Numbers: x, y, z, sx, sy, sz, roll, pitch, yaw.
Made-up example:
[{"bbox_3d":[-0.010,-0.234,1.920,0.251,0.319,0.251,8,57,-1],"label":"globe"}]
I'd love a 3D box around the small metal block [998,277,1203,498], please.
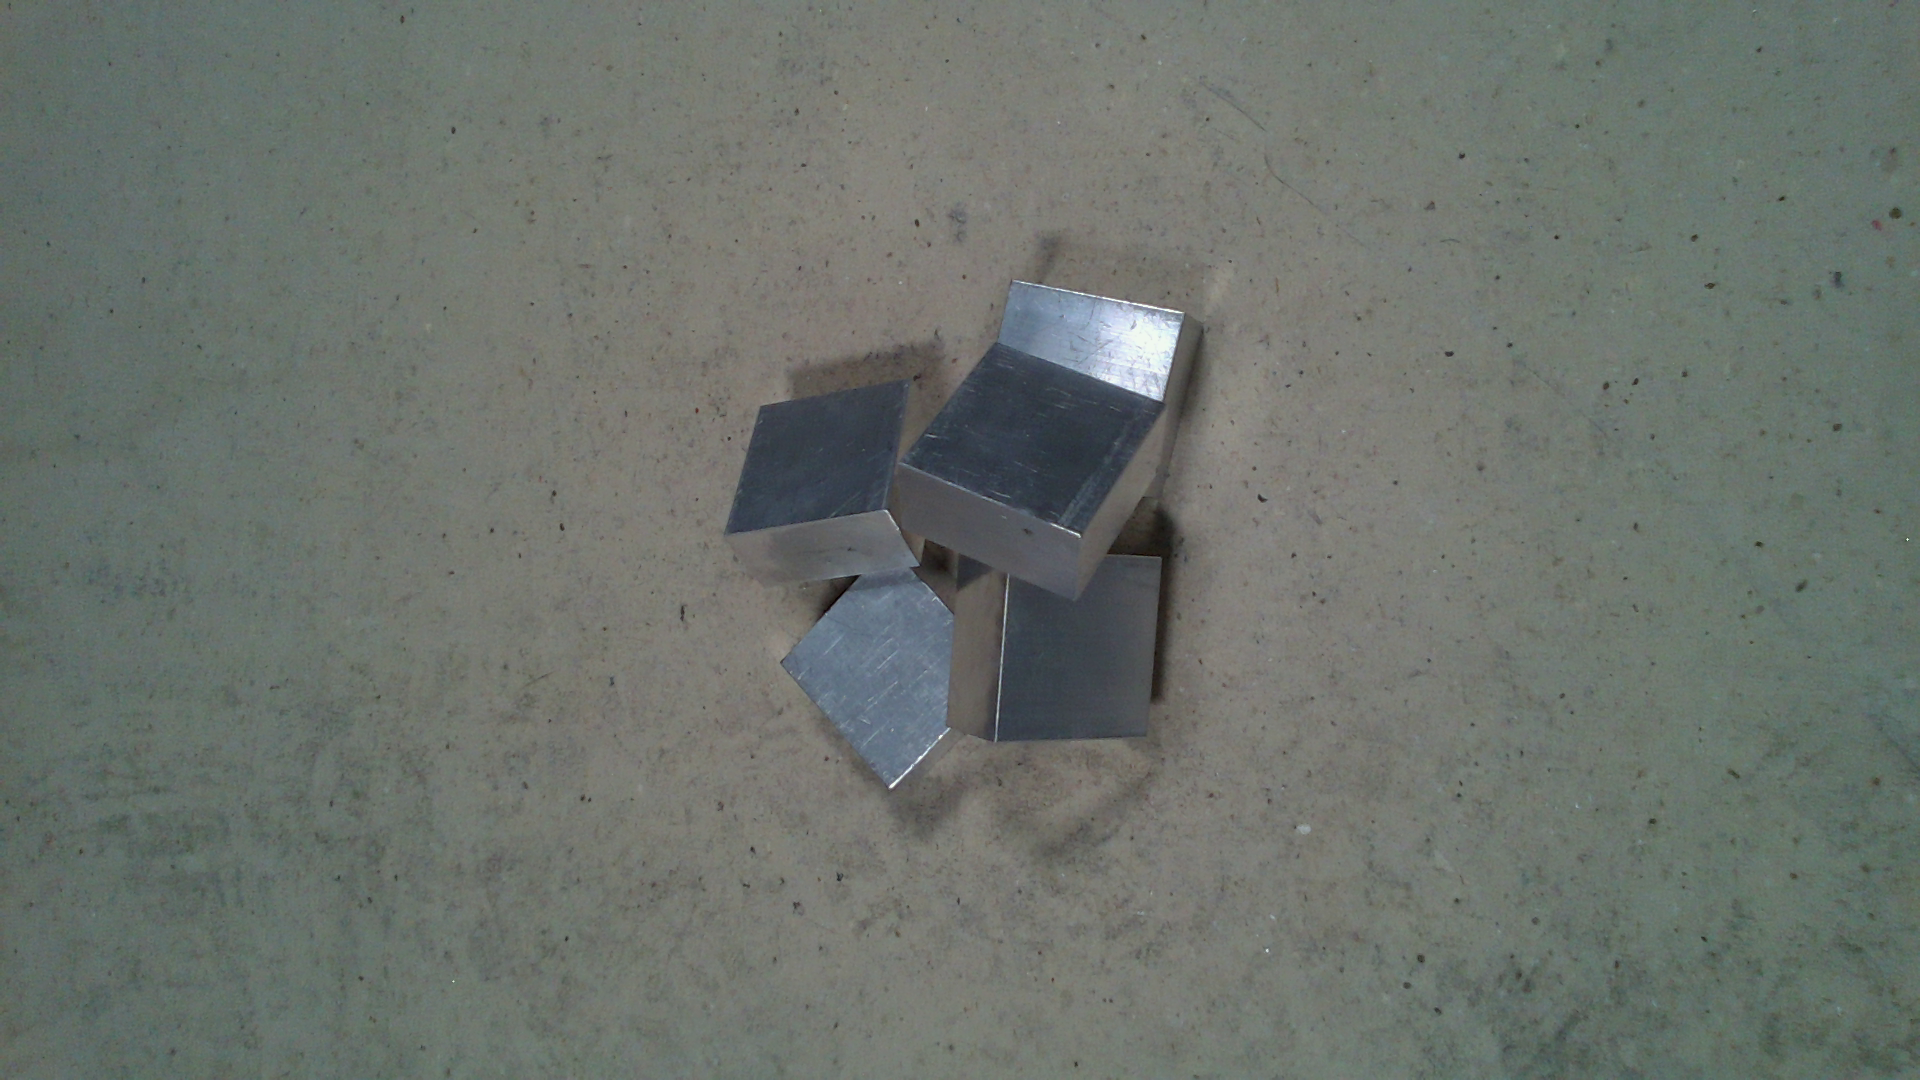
[{"bbox_3d":[0.035,-0.042,0.383,0.050,0.025,0.050,15,95,19],"label":"small metal block"}]

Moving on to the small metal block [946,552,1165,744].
[{"bbox_3d":[0.026,0.027,0.371,0.025,0.050,0.050,6,92,58],"label":"small metal block"}]

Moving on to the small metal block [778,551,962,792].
[{"bbox_3d":[-0.016,0.036,0.402,0.050,0.025,0.050,47,104,14],"label":"small metal block"}]

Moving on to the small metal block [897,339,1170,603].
[{"bbox_3d":[0.019,-0.019,0.348,0.050,0.025,0.050,23,54,18],"label":"small metal block"}]

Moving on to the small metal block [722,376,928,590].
[{"bbox_3d":[-0.035,-0.016,0.396,0.050,0.025,0.050,-8,49,19],"label":"small metal block"}]

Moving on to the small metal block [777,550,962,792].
[{"bbox_3d":[-0.016,0.036,0.402,0.050,0.025,0.050,-47,75,14],"label":"small metal block"}]
